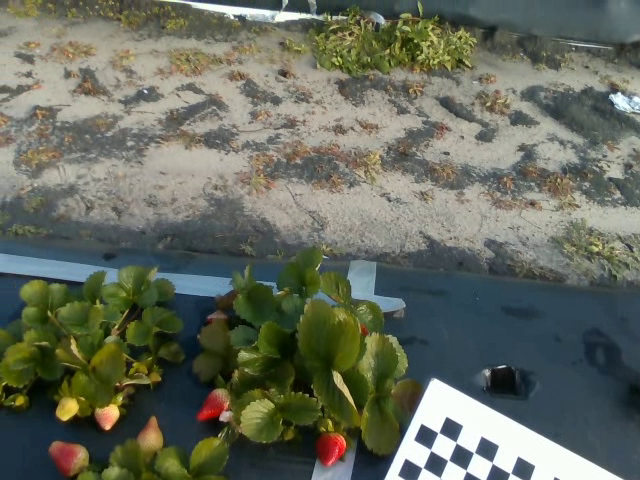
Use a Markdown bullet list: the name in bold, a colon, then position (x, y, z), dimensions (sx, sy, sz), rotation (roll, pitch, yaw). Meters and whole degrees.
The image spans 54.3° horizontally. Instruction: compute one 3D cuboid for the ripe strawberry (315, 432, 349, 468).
- **ripe strawberry**: position (0.013, 0.252, 0.736), dimensions (0.050, 0.036, 0.055), rotation (23, 47, 7)
